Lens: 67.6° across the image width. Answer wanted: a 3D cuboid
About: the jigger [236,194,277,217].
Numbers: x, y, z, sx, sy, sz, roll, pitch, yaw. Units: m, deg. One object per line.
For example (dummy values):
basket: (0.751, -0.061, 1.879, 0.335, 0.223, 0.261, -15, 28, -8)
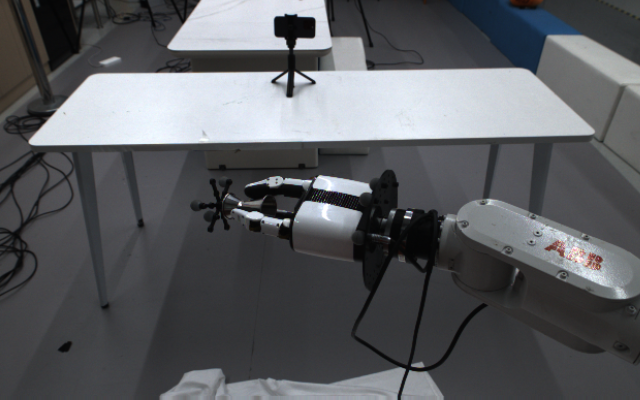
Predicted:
jigger: (-0.095, 0.005, 0.699, 0.071, 0.043, 0.043, 4, 33, 25)
